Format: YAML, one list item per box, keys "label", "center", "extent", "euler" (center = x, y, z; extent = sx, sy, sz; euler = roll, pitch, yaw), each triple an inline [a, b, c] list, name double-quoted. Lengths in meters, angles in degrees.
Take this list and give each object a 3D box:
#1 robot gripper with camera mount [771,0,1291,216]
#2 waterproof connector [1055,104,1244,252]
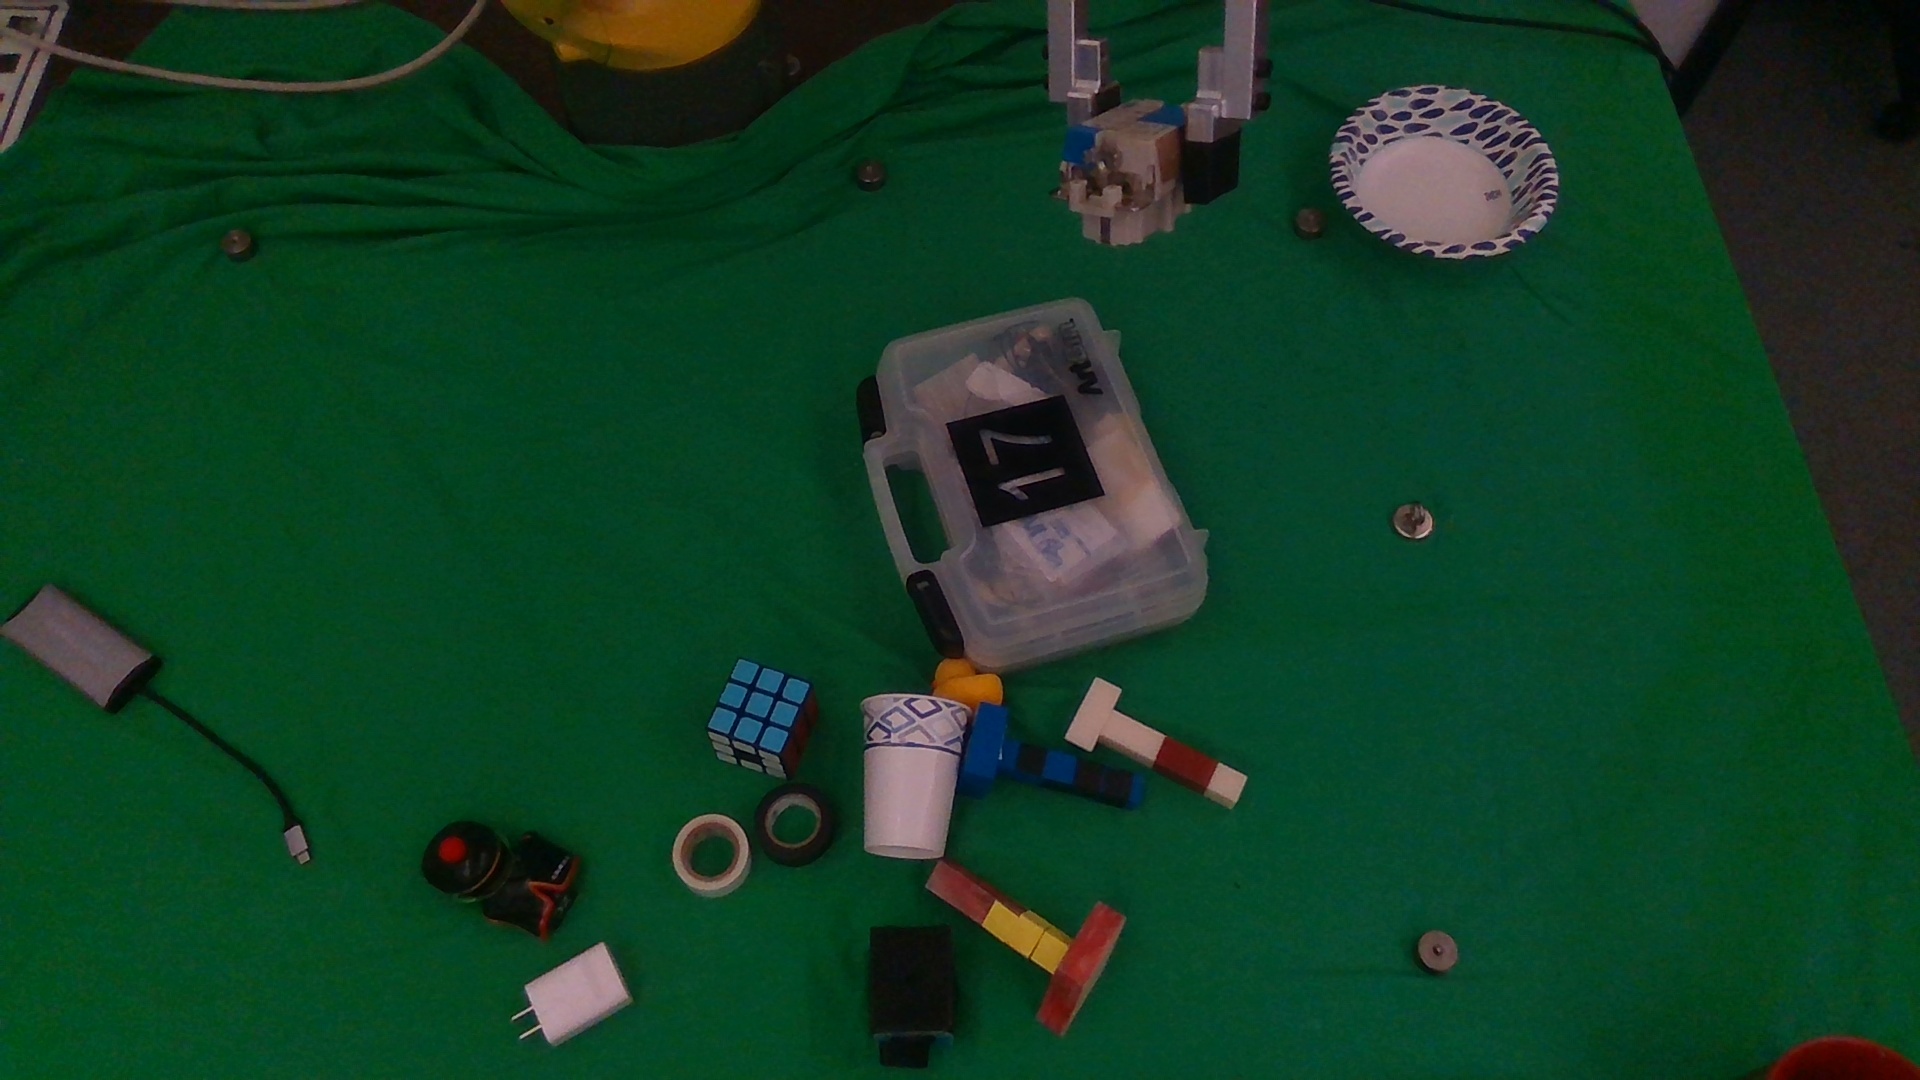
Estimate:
- label: "robot gripper with camera mount"
  center: [0.029, -0.144, 0.365]
  extent: [0.119, 0.158, 0.193]
  euler: [10, 33, 31]
- label: "waterproof connector"
  center: [0.063, -0.118, 0.452]
  extent: [0.035, 0.037, 0.065]
  euler: [19, 39, 39]
